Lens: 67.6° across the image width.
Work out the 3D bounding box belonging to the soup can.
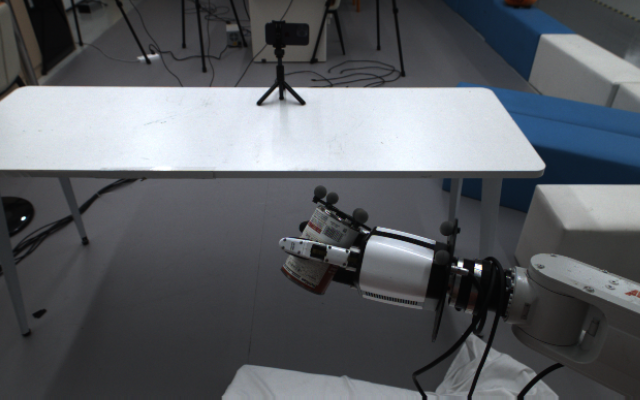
[{"bbox_3d":[0.003,0.066,0.646,0.067,0.101,0.067,30,2,-1],"label":"soup can"}]
